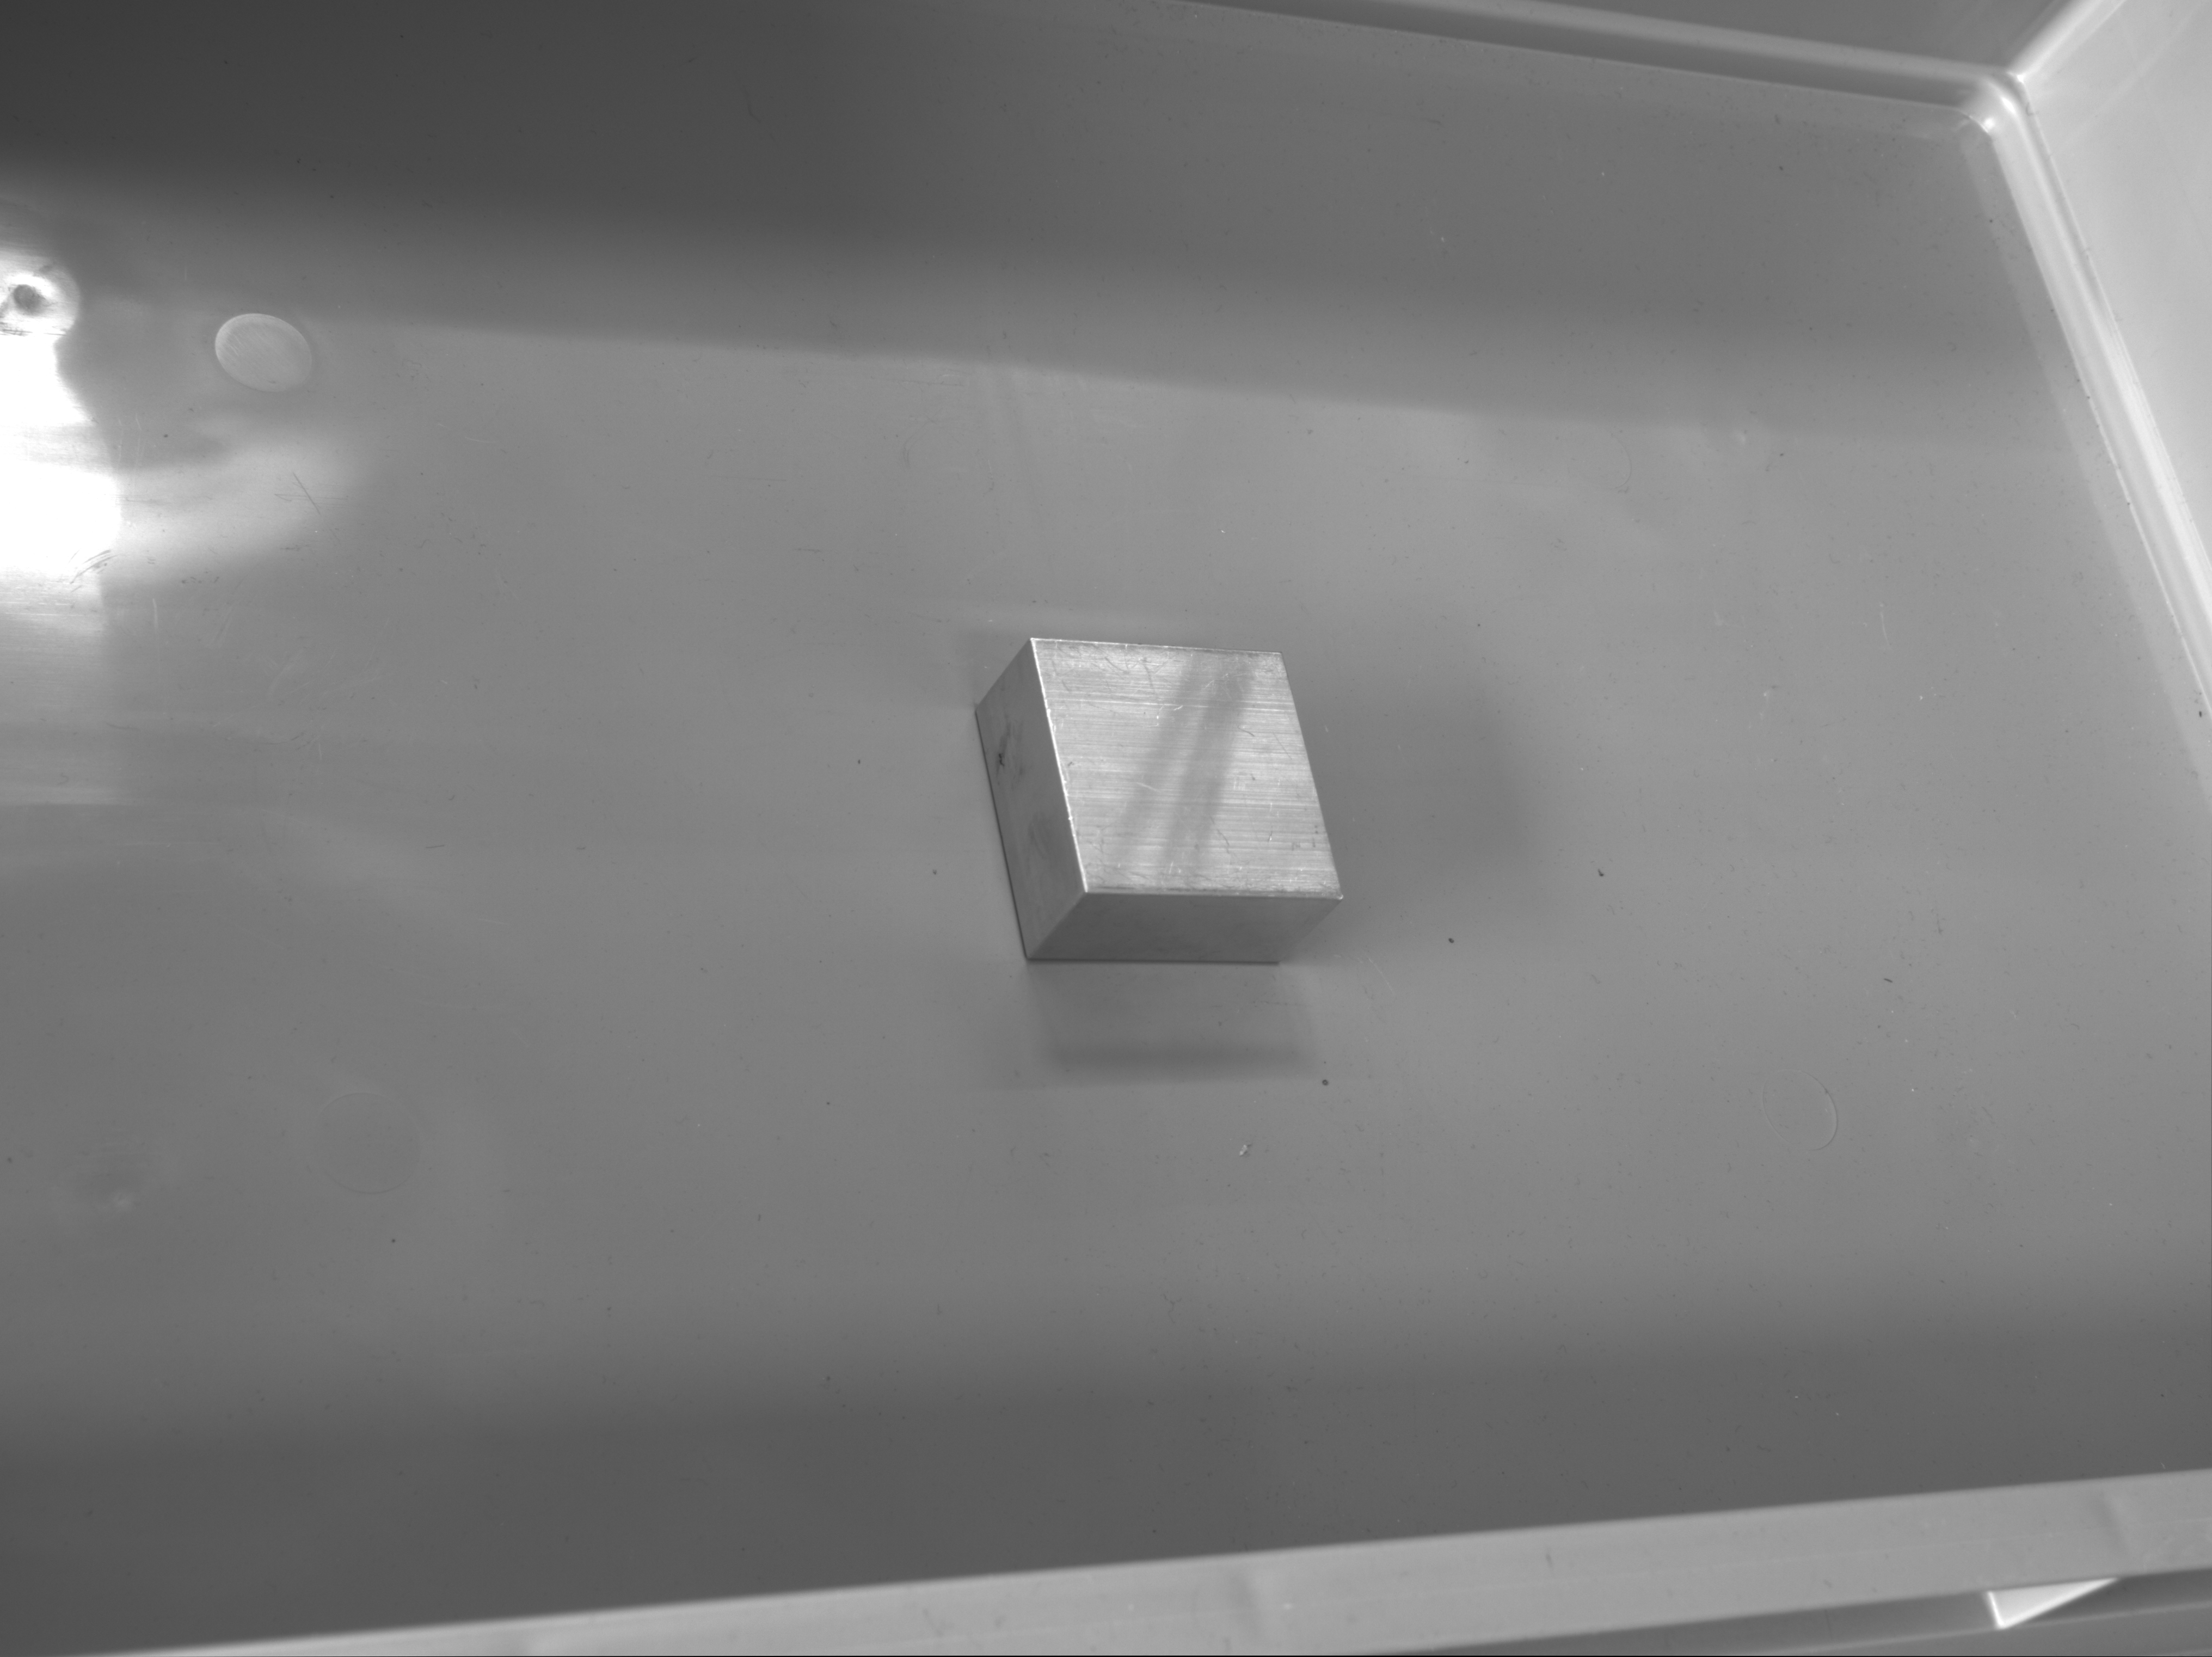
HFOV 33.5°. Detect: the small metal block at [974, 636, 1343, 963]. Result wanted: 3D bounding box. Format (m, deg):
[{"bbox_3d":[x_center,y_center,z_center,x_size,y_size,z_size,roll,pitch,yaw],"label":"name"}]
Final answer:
[{"bbox_3d":[0.009,-0.005,0.643,0.050,0.025,0.050,2,61,-27],"label":"small metal block"}]
